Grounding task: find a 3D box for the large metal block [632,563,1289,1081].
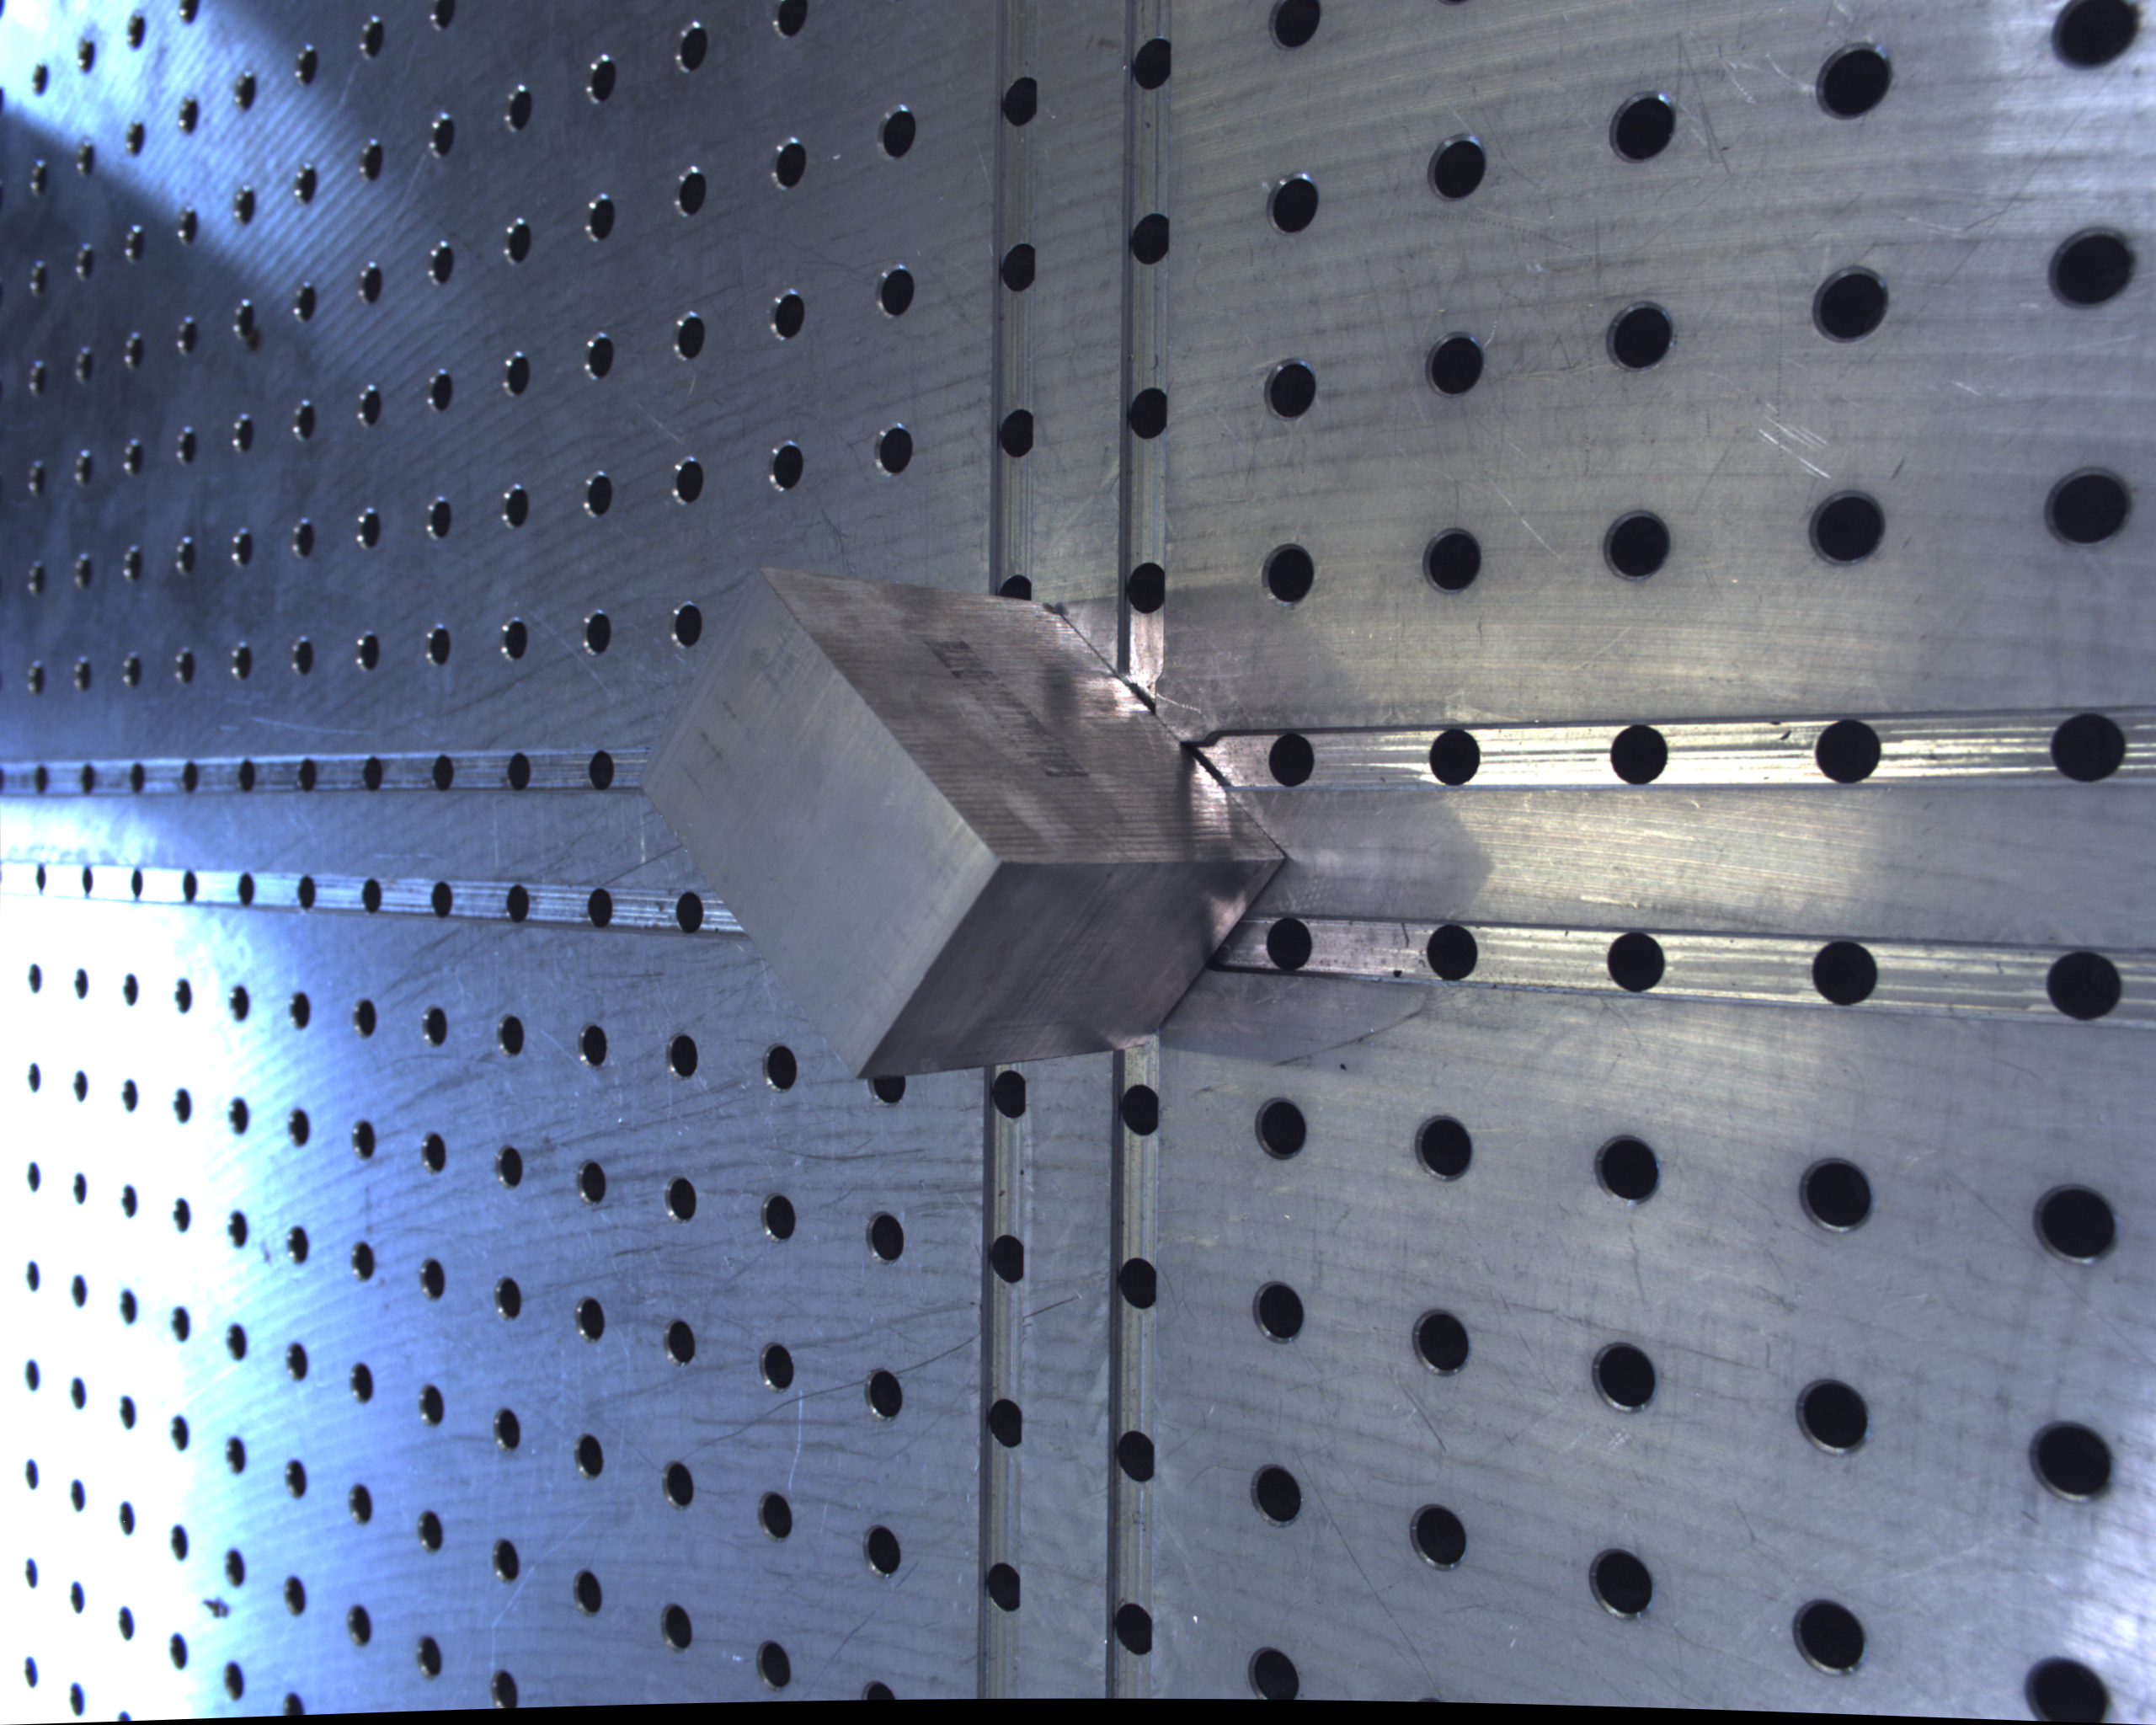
[{"bbox_3d":[-0.022,-0.008,0.392,0.080,0.081,0.050,49,119,28],"label":"large metal block"}]
